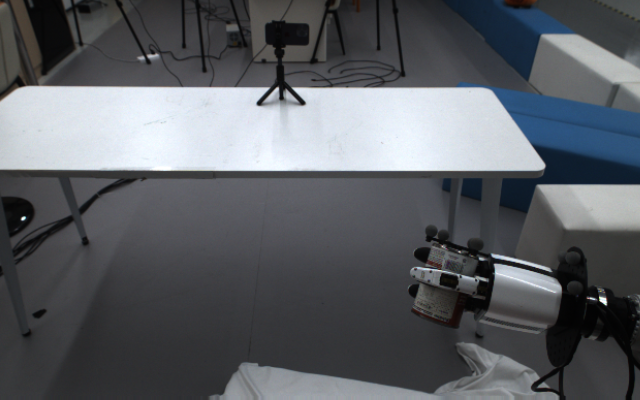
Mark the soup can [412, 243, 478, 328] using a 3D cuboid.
[{"bbox_3d":[0.176,0.117,0.673,0.067,0.101,0.067,17,-1,0],"label":"soup can"}]
